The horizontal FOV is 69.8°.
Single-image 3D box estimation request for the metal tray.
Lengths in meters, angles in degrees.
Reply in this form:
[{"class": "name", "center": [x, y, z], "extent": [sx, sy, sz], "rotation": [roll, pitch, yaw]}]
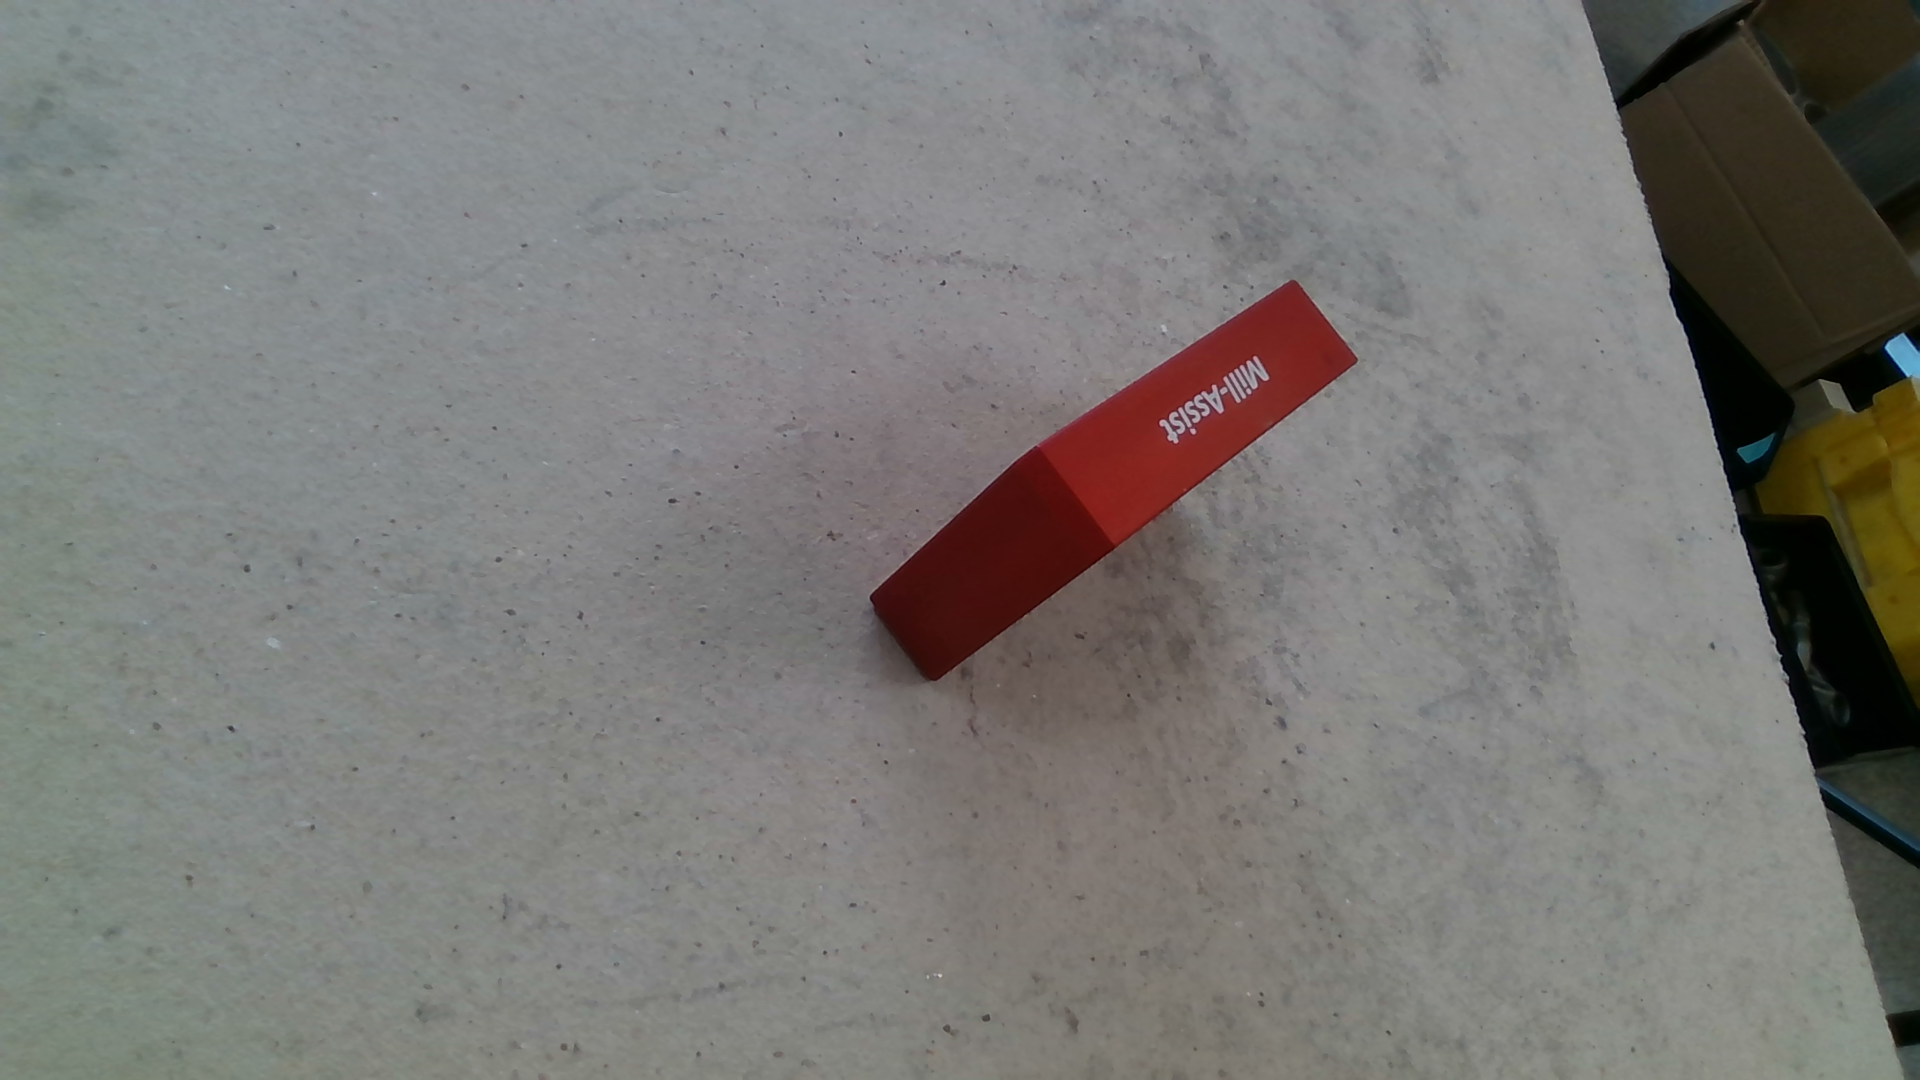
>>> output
[{"class": "metal tray", "center": [0.044, -0.018, 0.388], "extent": [0.130, 0.090, 0.030], "rotation": [-34, 86, -39]}]
